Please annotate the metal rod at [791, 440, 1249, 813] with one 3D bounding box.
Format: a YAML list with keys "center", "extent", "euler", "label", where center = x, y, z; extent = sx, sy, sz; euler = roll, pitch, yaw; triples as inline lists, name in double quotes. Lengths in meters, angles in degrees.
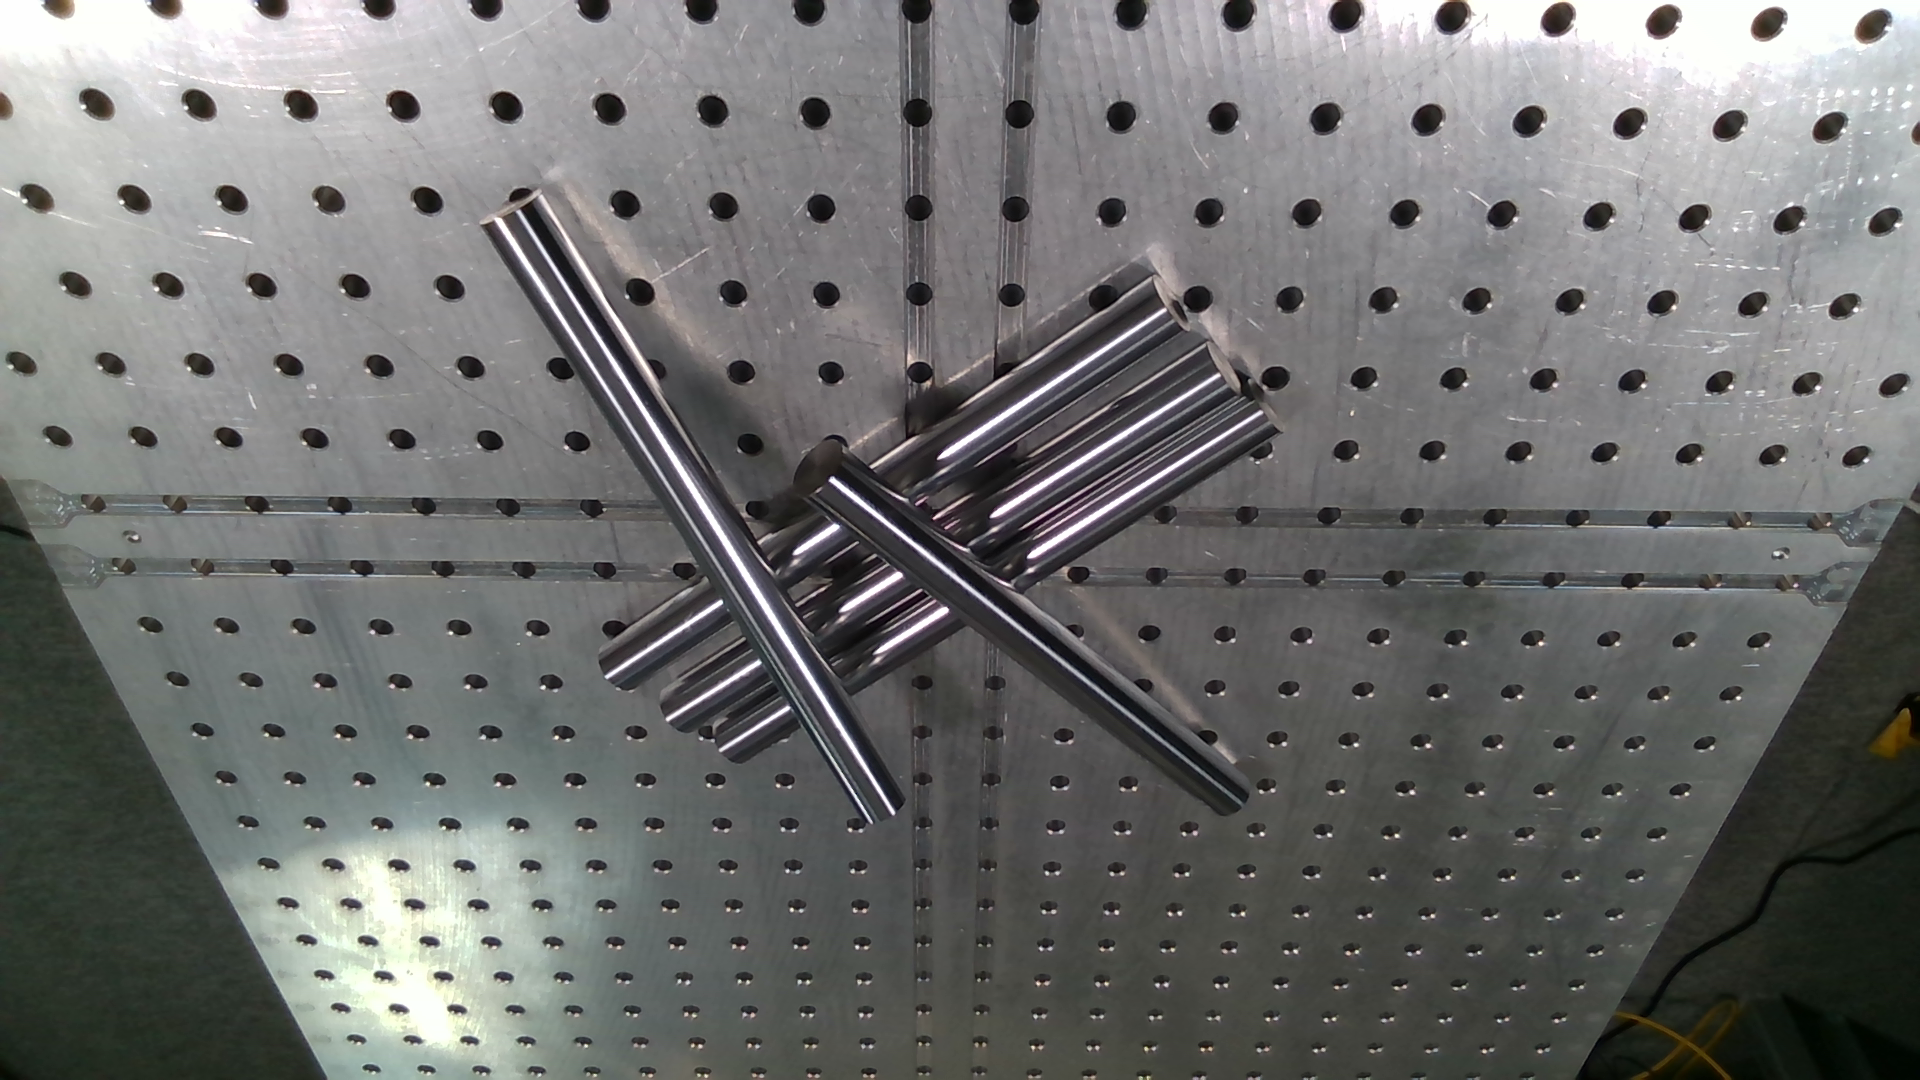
- center: [0.040, 0.049, 0.597]
  extent: [0.025, 0.025, 0.301]
  euler: [-32, 131, 24]
  label: "metal rod"

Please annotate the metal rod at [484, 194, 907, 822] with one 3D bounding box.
- center: [-0.096, 0.001, 0.556]
  extent: [0.025, 0.025, 0.301]
  euler: [-19, 119, 15]
  label: "metal rod"

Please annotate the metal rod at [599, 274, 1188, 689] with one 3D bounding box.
- center: [-0.039, -0.015, 0.569]
  extent: [0.300, 0.025, 0.025]
  euler: [-32, 123, 24]
  label: "metal rod"

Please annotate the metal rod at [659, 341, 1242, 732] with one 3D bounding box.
- center: [-0.016, 0.006, 0.587]
  extent: [0.300, 0.025, 0.025]
  euler: [-32, 123, 24]
  label: "metal rod"

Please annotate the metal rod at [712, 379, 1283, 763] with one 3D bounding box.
- center: [0.005, 0.022, 0.600]
  extent: [0.300, 0.025, 0.025]
  euler: [-33, 123, 25]
  label: "metal rod"
